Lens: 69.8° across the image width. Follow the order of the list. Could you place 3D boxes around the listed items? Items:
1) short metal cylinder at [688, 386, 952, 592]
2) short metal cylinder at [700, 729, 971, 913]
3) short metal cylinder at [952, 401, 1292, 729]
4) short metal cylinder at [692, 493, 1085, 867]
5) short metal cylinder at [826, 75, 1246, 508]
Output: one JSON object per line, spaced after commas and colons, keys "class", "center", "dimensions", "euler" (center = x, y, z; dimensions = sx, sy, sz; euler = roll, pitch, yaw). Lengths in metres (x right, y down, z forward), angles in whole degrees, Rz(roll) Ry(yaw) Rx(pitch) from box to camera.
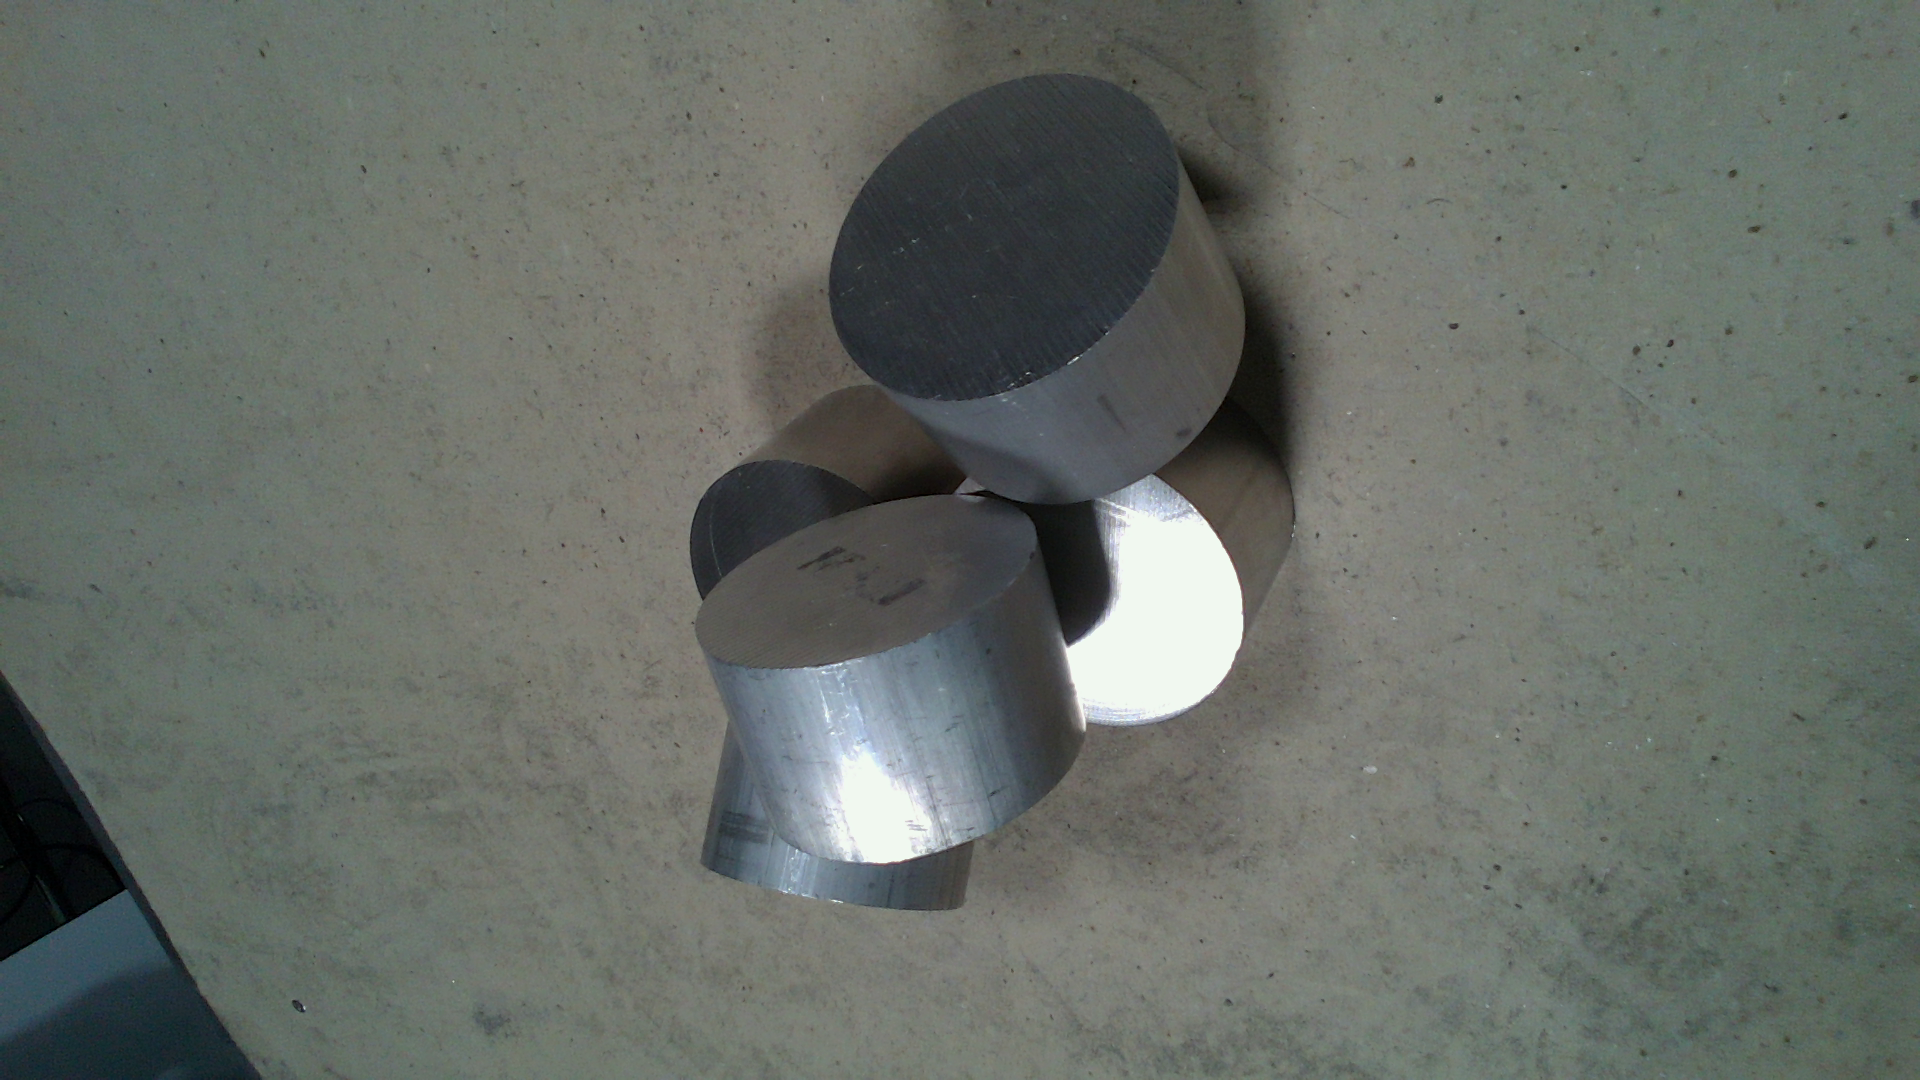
{"class": "short metal cylinder", "center": [-0.030, 0.002, 0.394], "dimensions": [0.080, 0.050, 0.080], "euler": [13, 124, 21]}
{"class": "short metal cylinder", "center": [-0.034, 0.078, 0.415], "dimensions": [0.080, 0.080, 0.050], "euler": [7, 83, 25]}
{"class": "short metal cylinder", "center": [0.040, 0.001, 0.355], "dimensions": [0.080, 0.050, 0.080], "euler": [13, 124, 21]}
{"class": "short metal cylinder", "center": [-0.015, 0.030, 0.319], "dimensions": [0.080, 0.080, 0.050], "euler": [-2, 118, 29]}
{"class": "short metal cylinder", "center": [0.018, -0.054, 0.305], "dimensions": [0.080, 0.080, 0.050], "euler": [1, 157, 28]}
